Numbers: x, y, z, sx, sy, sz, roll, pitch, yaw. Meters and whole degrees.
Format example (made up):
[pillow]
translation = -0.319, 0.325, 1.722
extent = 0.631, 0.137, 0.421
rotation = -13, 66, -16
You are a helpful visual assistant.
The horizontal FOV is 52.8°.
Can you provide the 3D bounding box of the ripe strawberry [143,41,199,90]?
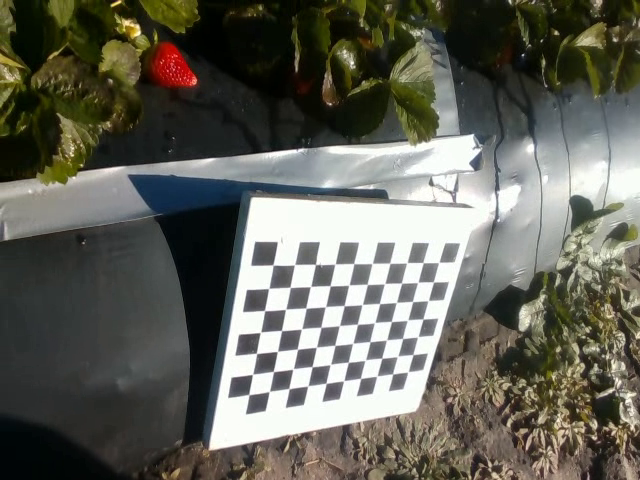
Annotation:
[ripe strawberry]
translation = -0.136, -0.156, 0.582
extent = 0.058, 0.046, 0.042
rotation = 34, 0, -20
